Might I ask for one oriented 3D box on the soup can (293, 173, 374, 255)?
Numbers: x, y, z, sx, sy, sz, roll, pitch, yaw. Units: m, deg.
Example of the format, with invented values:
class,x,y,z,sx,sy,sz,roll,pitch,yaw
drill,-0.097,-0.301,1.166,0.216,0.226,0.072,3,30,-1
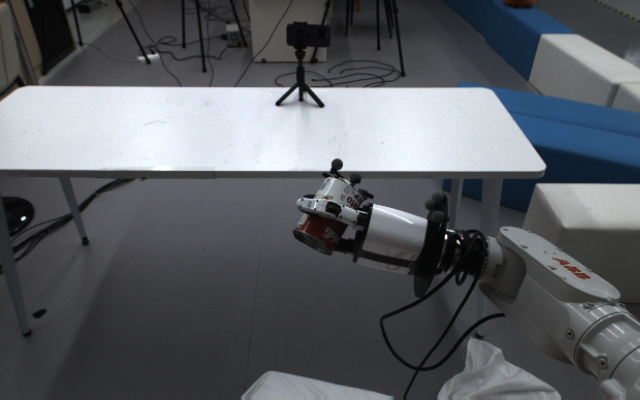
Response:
class,x,y,z,sx,sy,sz,roll,pitch,yaw
soup can,0.014,0.022,0.725,0.067,0.067,0.101,23,71,27
